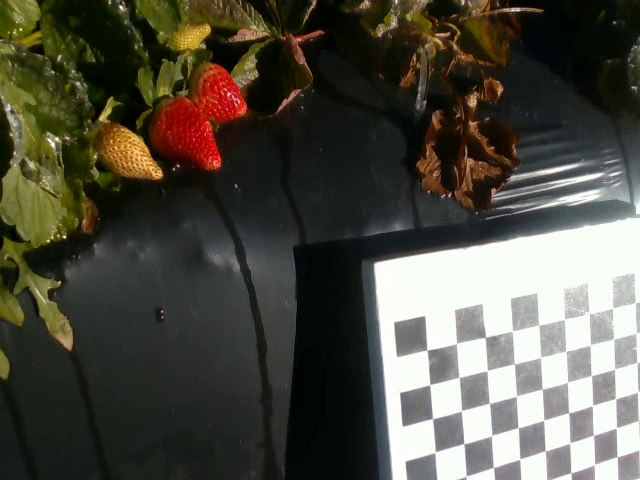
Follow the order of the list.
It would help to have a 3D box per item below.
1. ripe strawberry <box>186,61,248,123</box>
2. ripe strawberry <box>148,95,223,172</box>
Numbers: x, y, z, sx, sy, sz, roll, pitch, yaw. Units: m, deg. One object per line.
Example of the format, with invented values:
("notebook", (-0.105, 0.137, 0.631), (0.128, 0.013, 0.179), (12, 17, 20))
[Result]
("ripe strawberry", (-0.060, -0.087, 0.393), (0.041, 0.036, 0.030), (21, -4, -19))
("ripe strawberry", (-0.071, -0.055, 0.372), (0.051, 0.037, 0.040), (38, -14, 16))
